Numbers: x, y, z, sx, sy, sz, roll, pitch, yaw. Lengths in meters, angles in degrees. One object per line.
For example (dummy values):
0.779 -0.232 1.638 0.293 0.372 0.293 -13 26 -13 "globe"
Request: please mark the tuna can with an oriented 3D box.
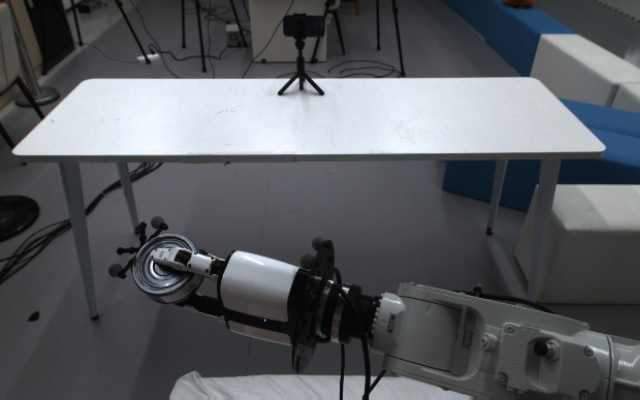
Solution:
-0.188 0.091 0.615 0.085 0.034 0.085 -1 63 1 "tuna can"
